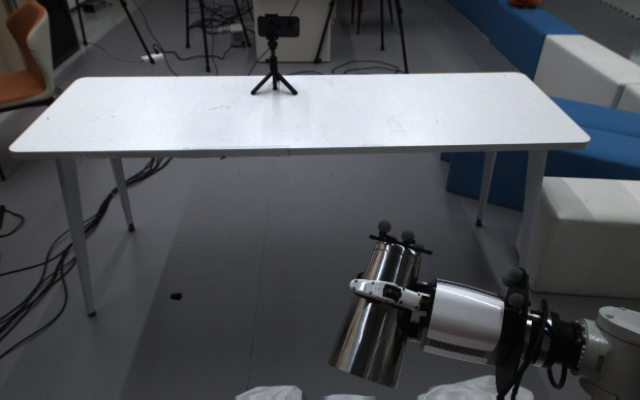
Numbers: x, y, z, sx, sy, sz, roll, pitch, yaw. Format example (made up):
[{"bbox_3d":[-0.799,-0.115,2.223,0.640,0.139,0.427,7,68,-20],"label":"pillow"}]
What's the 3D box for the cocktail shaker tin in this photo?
[{"bbox_3d":[0.079,0.146,0.637,0.093,0.093,0.170,16,75,19],"label":"cocktail shaker tin"}]
